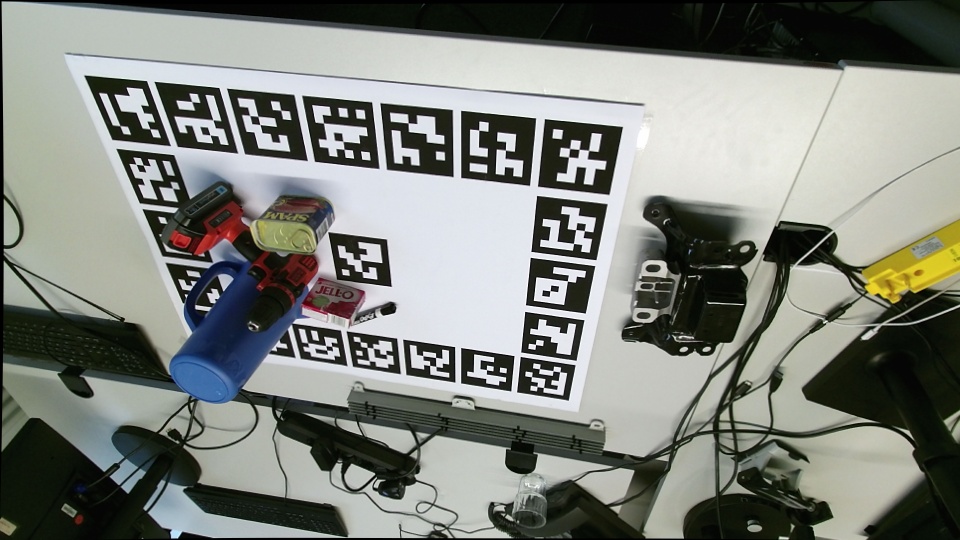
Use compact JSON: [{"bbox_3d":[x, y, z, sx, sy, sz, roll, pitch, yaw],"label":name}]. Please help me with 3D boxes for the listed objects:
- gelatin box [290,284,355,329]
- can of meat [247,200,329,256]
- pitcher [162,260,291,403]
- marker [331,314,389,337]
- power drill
[{"bbox_3d":[-0.276,0.065,0.942,0.089,0.073,0.030,17,122,2],"label":"gelatin box"},{"bbox_3d":[-0.300,-0.067,0.843,0.102,0.083,0.058,7,127,8],"label":"can of meat"},{"bbox_3d":[-0.432,0.094,0.899,0.189,0.241,0.133,30,122,-18],"label":"pitcher"},{"bbox_3d":[-0.220,0.102,0.987,0.121,0.019,0.019,-16,119,21],"label":"marker"},{"bbox_3d":[-0.377,0.003,0.852,0.187,0.184,0.057,39,121,-9],"label":"power drill"}]
